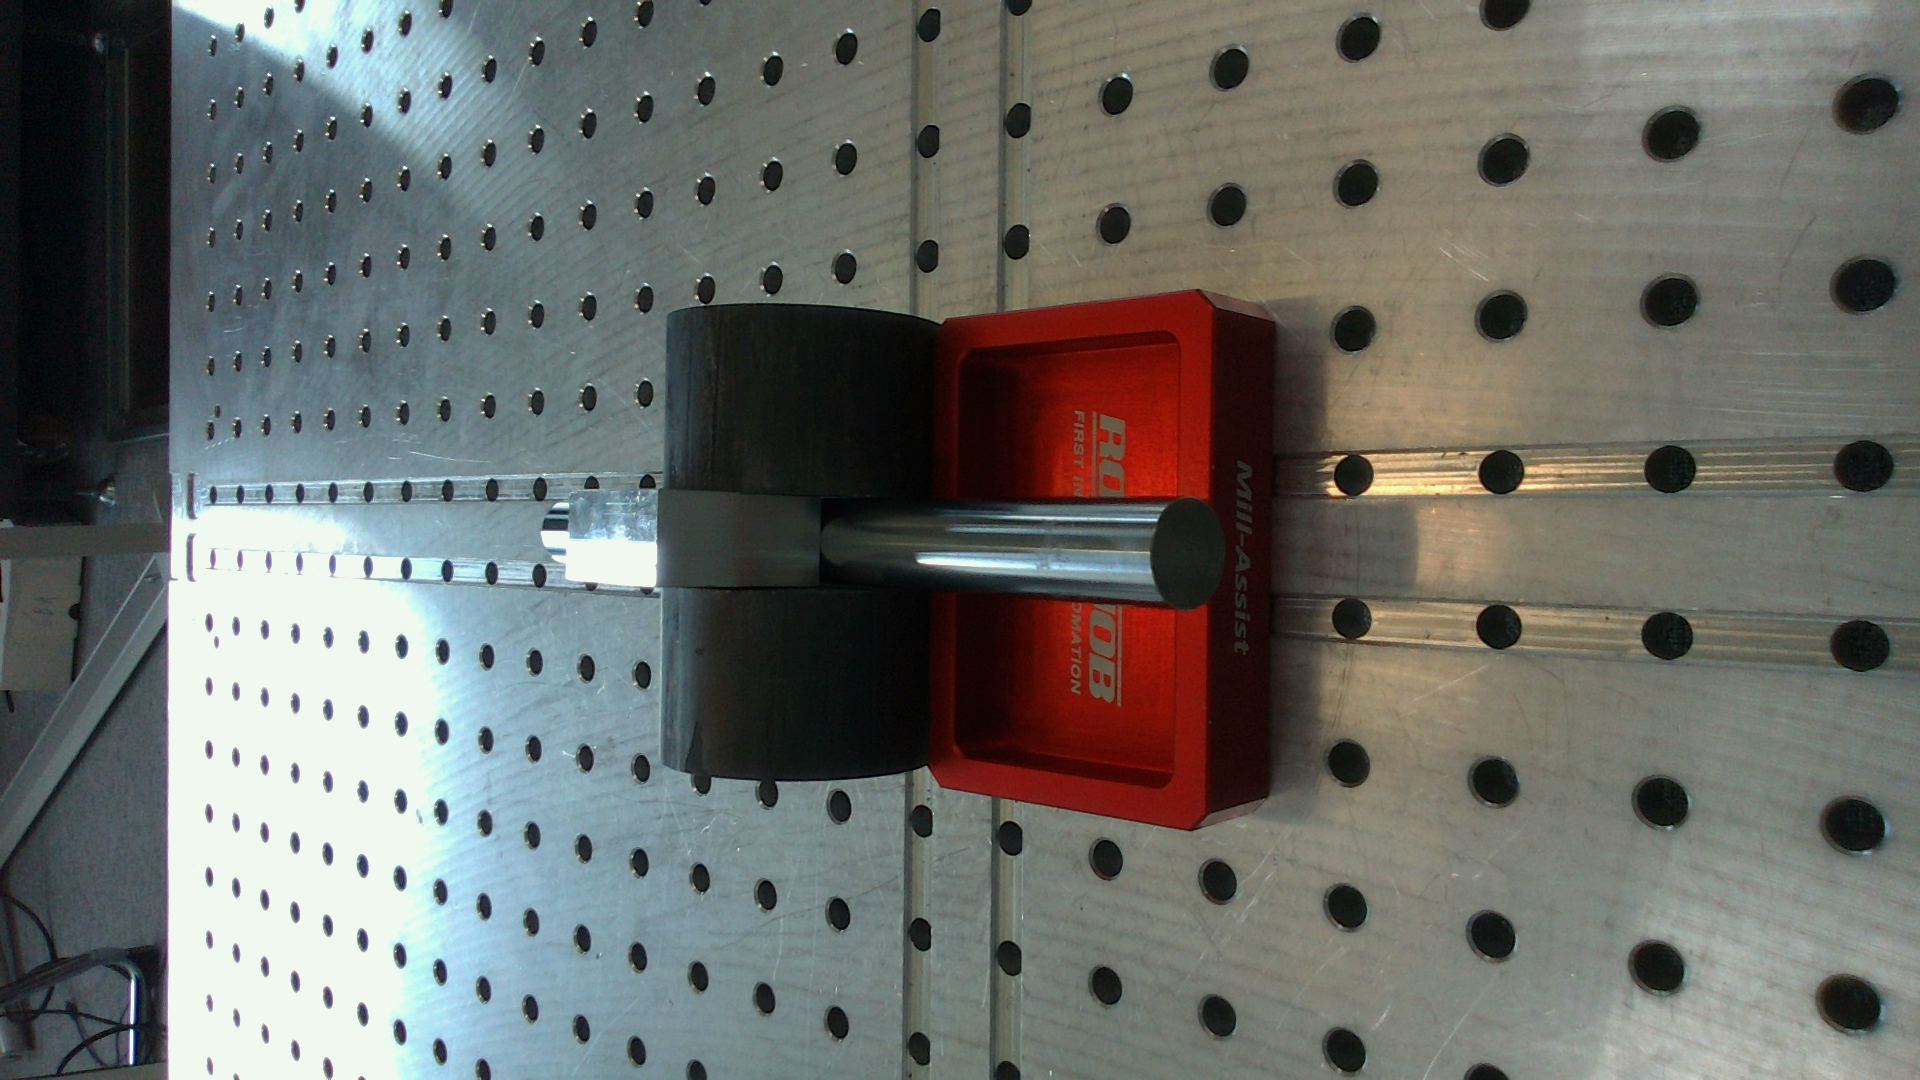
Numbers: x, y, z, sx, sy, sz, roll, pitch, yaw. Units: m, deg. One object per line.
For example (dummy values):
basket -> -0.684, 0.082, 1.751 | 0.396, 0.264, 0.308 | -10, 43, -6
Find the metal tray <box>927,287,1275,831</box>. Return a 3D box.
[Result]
metal tray -> 0.035, 0.004, 0.365 | 0.090, 0.030, 0.130 | 1, 91, 40

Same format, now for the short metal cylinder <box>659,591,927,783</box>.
short metal cylinder -> -0.047, 0.038, 0.401 | 0.080, 0.080, 0.050 | 2, 91, 40

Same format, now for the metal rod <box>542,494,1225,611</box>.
metal rod -> -0.049, 0.000, 0.408 | 0.299, 0.025, 0.025 | 2, 91, 49

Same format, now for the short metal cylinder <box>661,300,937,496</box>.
short metal cylinder -> -0.046, -0.038, 0.398 | 0.080, 0.080, 0.050 | 1, 91, 40

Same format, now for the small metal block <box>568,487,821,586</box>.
small metal block -> -0.074, -0.001, 0.381 | 0.050, 0.050, 0.025 | 1, 91, 48
